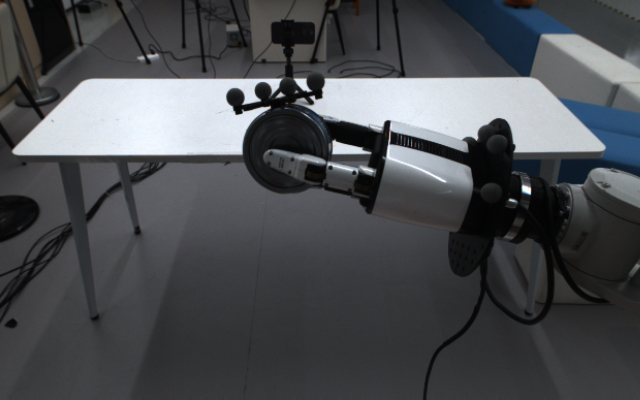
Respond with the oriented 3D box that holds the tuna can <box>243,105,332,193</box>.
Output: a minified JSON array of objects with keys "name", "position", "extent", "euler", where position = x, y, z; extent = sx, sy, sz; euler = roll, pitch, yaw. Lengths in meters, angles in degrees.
[{"name":"tuna can","position":[-0.027,-0.044,0.474],"extent":[0.085,0.085,0.034],"euler":[6,18,5]}]
